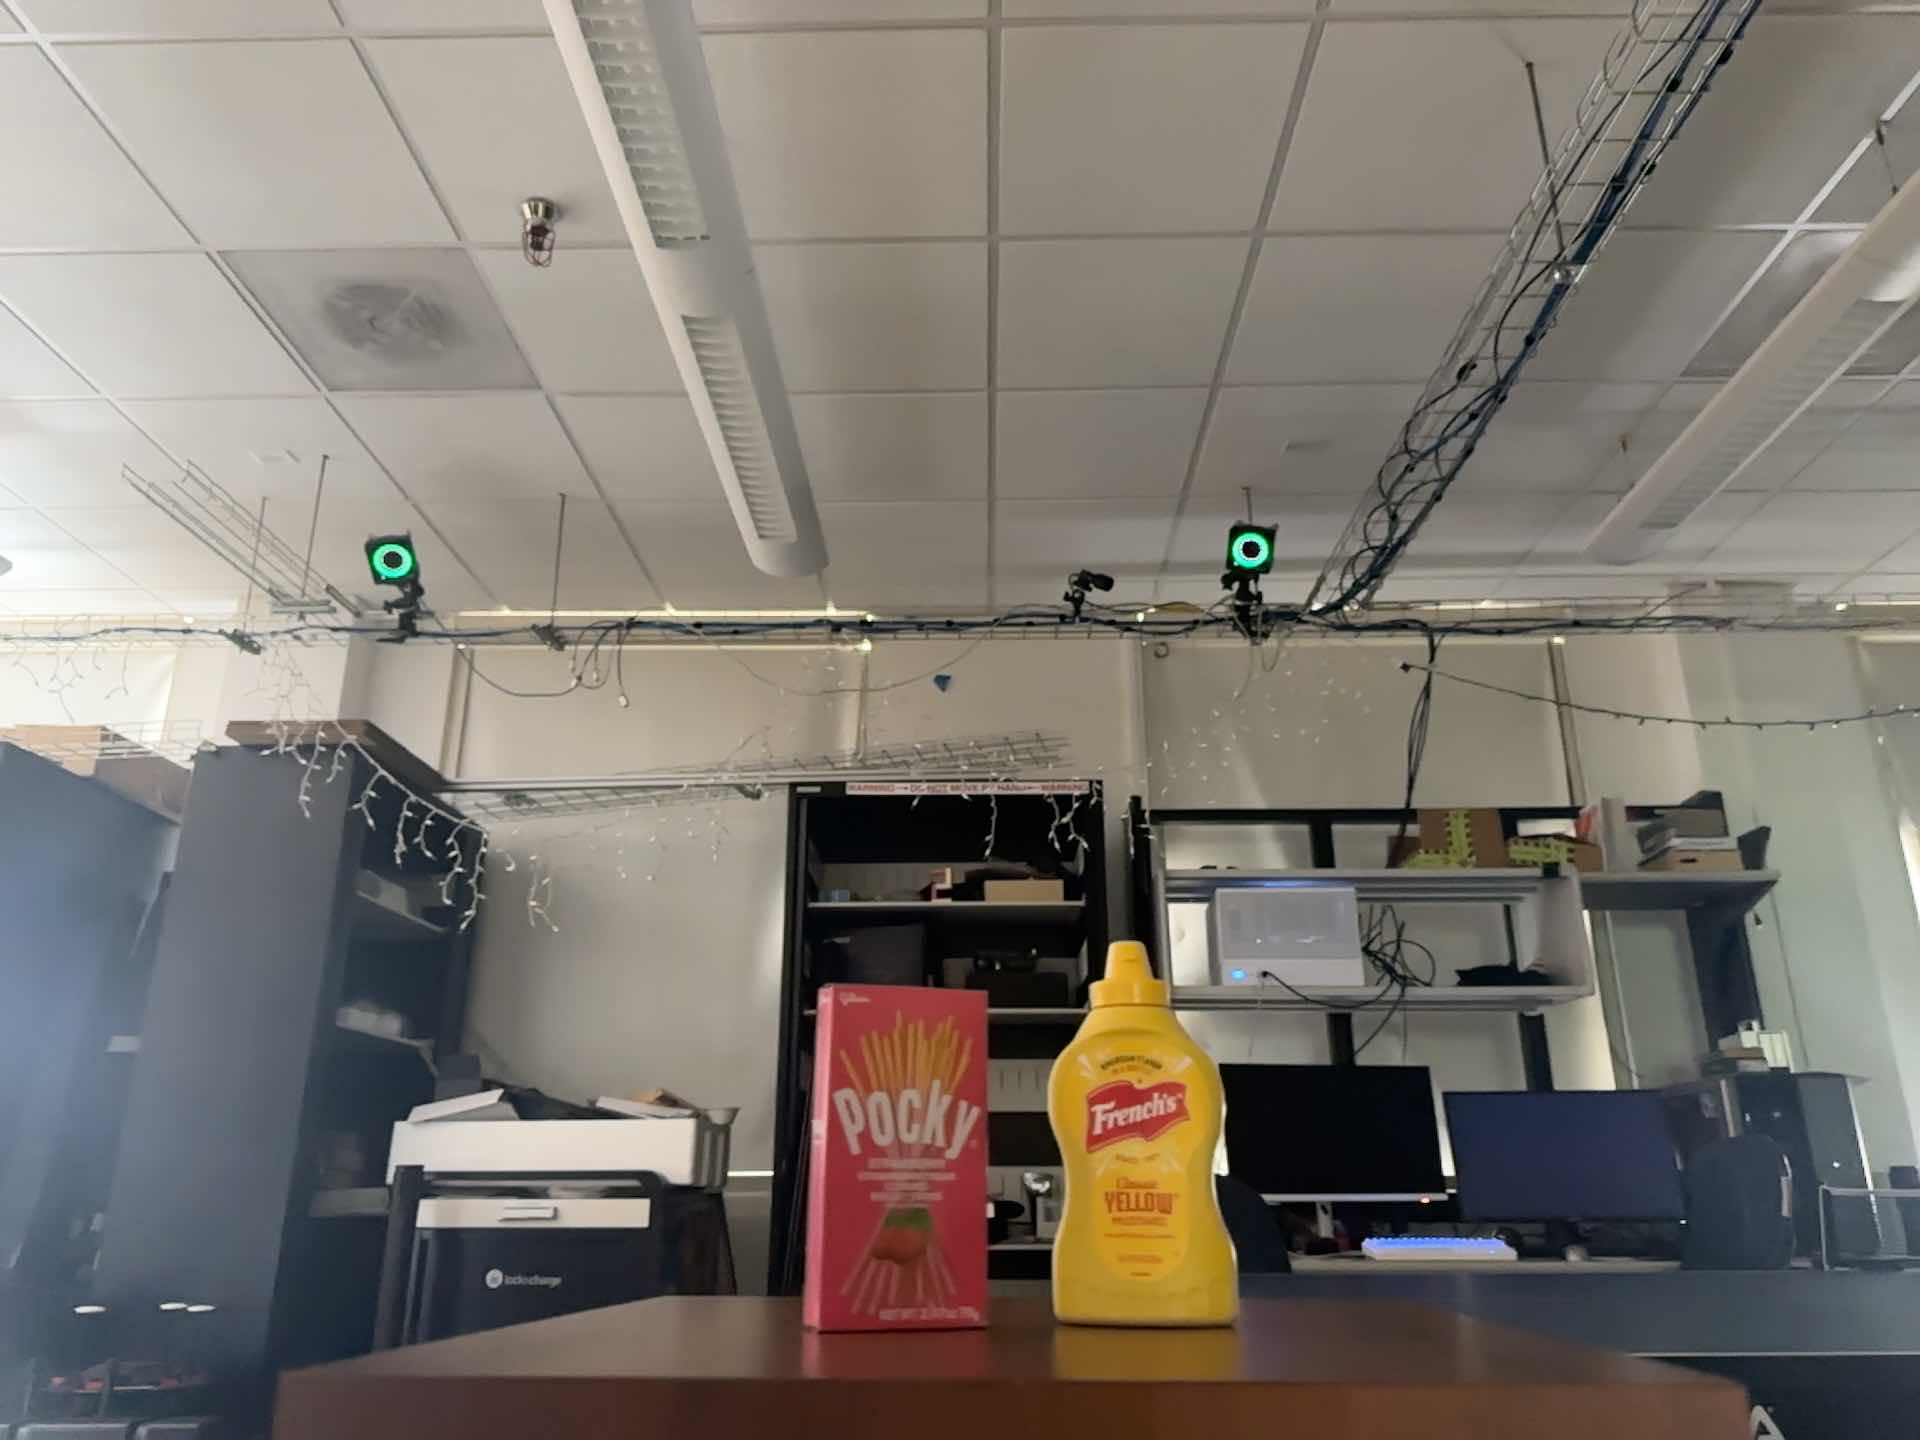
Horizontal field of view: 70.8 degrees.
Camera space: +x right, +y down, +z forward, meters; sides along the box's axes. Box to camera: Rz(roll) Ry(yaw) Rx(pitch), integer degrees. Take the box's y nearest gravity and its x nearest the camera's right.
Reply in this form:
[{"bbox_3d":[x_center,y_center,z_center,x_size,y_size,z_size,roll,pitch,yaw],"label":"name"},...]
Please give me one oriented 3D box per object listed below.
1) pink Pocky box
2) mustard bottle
[{"bbox_3d":[-0.027,0.203,0.640,0.084,0.154,0.029,6,-18,-12],"label":"pink Pocky box"},{"bbox_3d":[0.088,0.199,0.670,0.092,0.184,0.054,-3,-14,7],"label":"mustard bottle"}]
